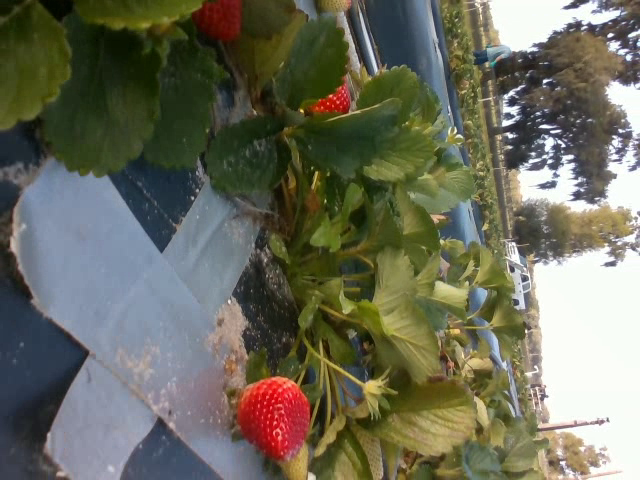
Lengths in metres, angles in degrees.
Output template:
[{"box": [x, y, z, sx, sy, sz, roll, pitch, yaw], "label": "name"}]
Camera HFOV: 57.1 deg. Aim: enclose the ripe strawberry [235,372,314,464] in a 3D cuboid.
[{"box": [-0.009, 0.045, 0.138, 0.020, 0.023, 0.026, -35, 18, 10], "label": "ripe strawberry"}]
